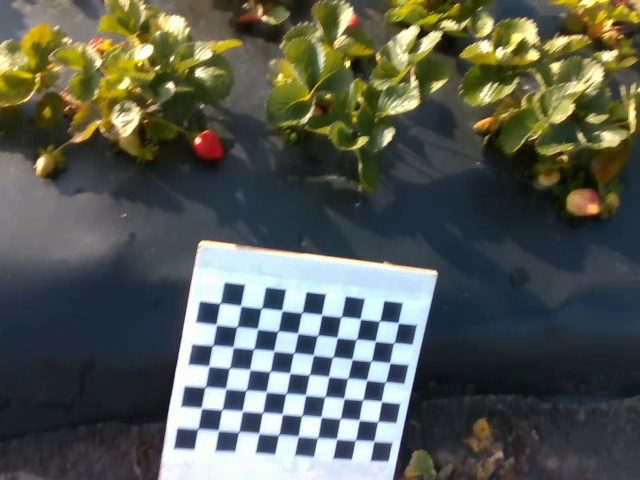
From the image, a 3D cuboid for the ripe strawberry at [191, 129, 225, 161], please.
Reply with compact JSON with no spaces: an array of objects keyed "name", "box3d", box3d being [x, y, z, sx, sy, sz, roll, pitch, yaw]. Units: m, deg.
[{"name":"ripe strawberry","box3d":[-0.120,-0.112,0.537,0.044,0.030,0.033,45,16,17]}]
